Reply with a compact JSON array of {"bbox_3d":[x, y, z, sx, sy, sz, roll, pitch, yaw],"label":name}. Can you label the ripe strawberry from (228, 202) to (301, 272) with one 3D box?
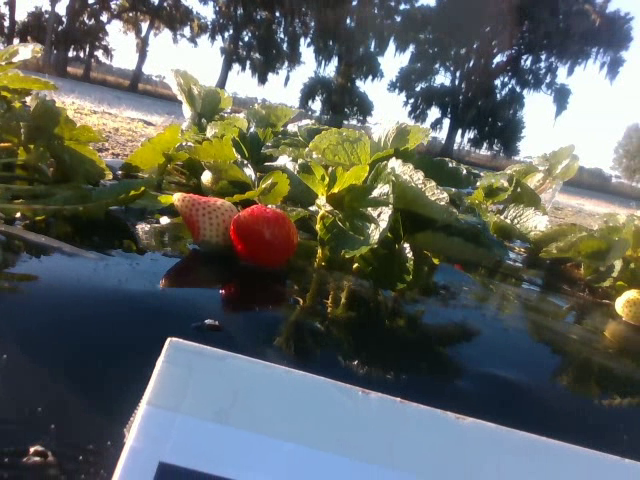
[{"bbox_3d":[-0.030,-0.008,0.309,0.040,0.038,0.056,-15,-36,7],"label":"ripe strawberry"}]
